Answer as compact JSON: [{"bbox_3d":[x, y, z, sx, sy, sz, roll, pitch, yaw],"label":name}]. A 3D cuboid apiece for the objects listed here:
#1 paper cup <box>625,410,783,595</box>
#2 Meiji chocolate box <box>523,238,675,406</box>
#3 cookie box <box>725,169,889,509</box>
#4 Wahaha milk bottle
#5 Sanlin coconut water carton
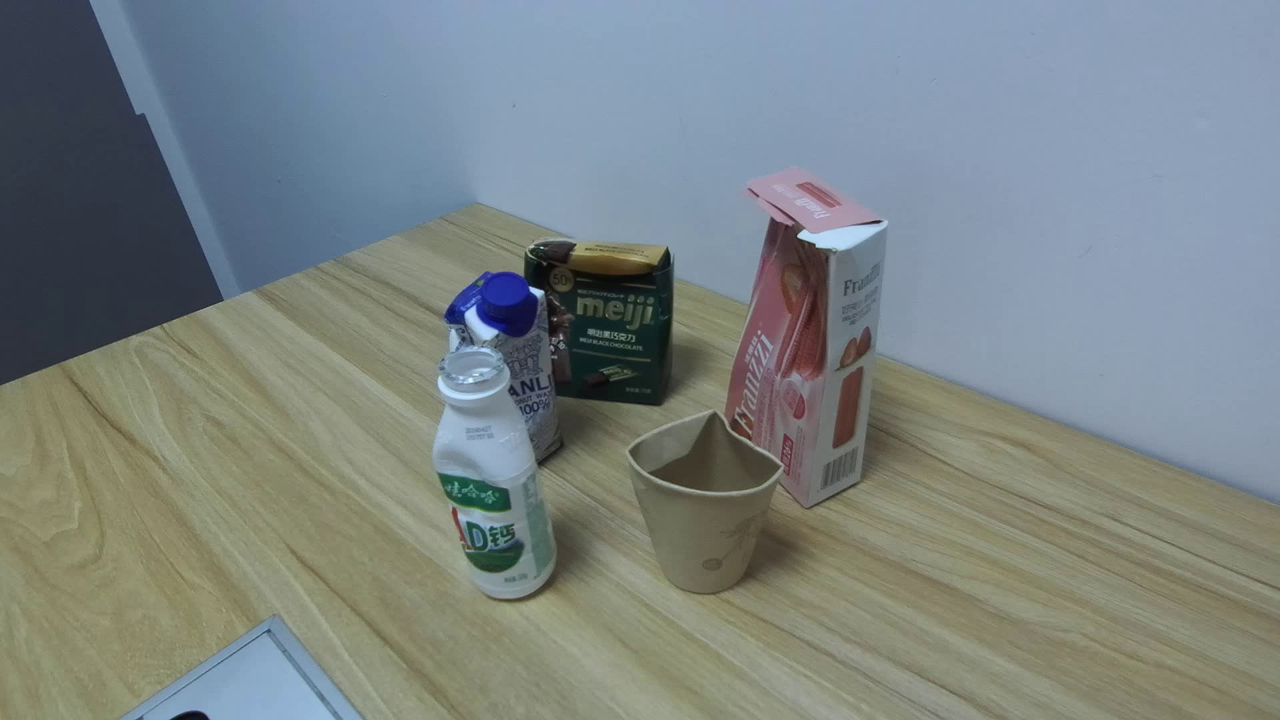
[{"bbox_3d":[0.034,0.083,0.391,0.066,0.084,0.071,-21,38,-26],"label":"paper cup"},{"bbox_3d":[-0.032,-0.030,0.545,0.113,0.111,0.058,4,23,12],"label":"Meiji chocolate box"},{"bbox_3d":[0.096,-0.011,0.436,0.055,0.184,0.118,-14,35,-17],"label":"cookie box"},{"bbox_3d":[-0.075,0.061,0.374,0.055,0.149,0.055,-1,34,1],"label":"Wahaha milk bottle"},{"bbox_3d":[-0.092,0.006,0.460,0.069,0.144,0.061,26,44,36],"label":"Sanlin coconut water carton"}]
